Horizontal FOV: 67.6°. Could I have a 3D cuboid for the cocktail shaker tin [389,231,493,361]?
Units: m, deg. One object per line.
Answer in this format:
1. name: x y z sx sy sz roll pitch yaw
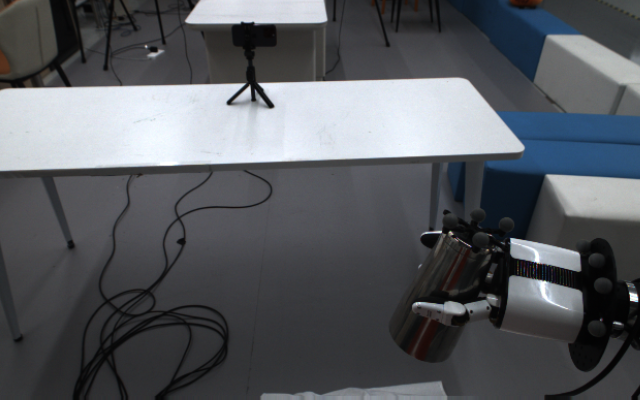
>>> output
1. cocktail shaker tin: 0.162 0.111 0.617 0.093 0.170 0.093 12 29 -7
